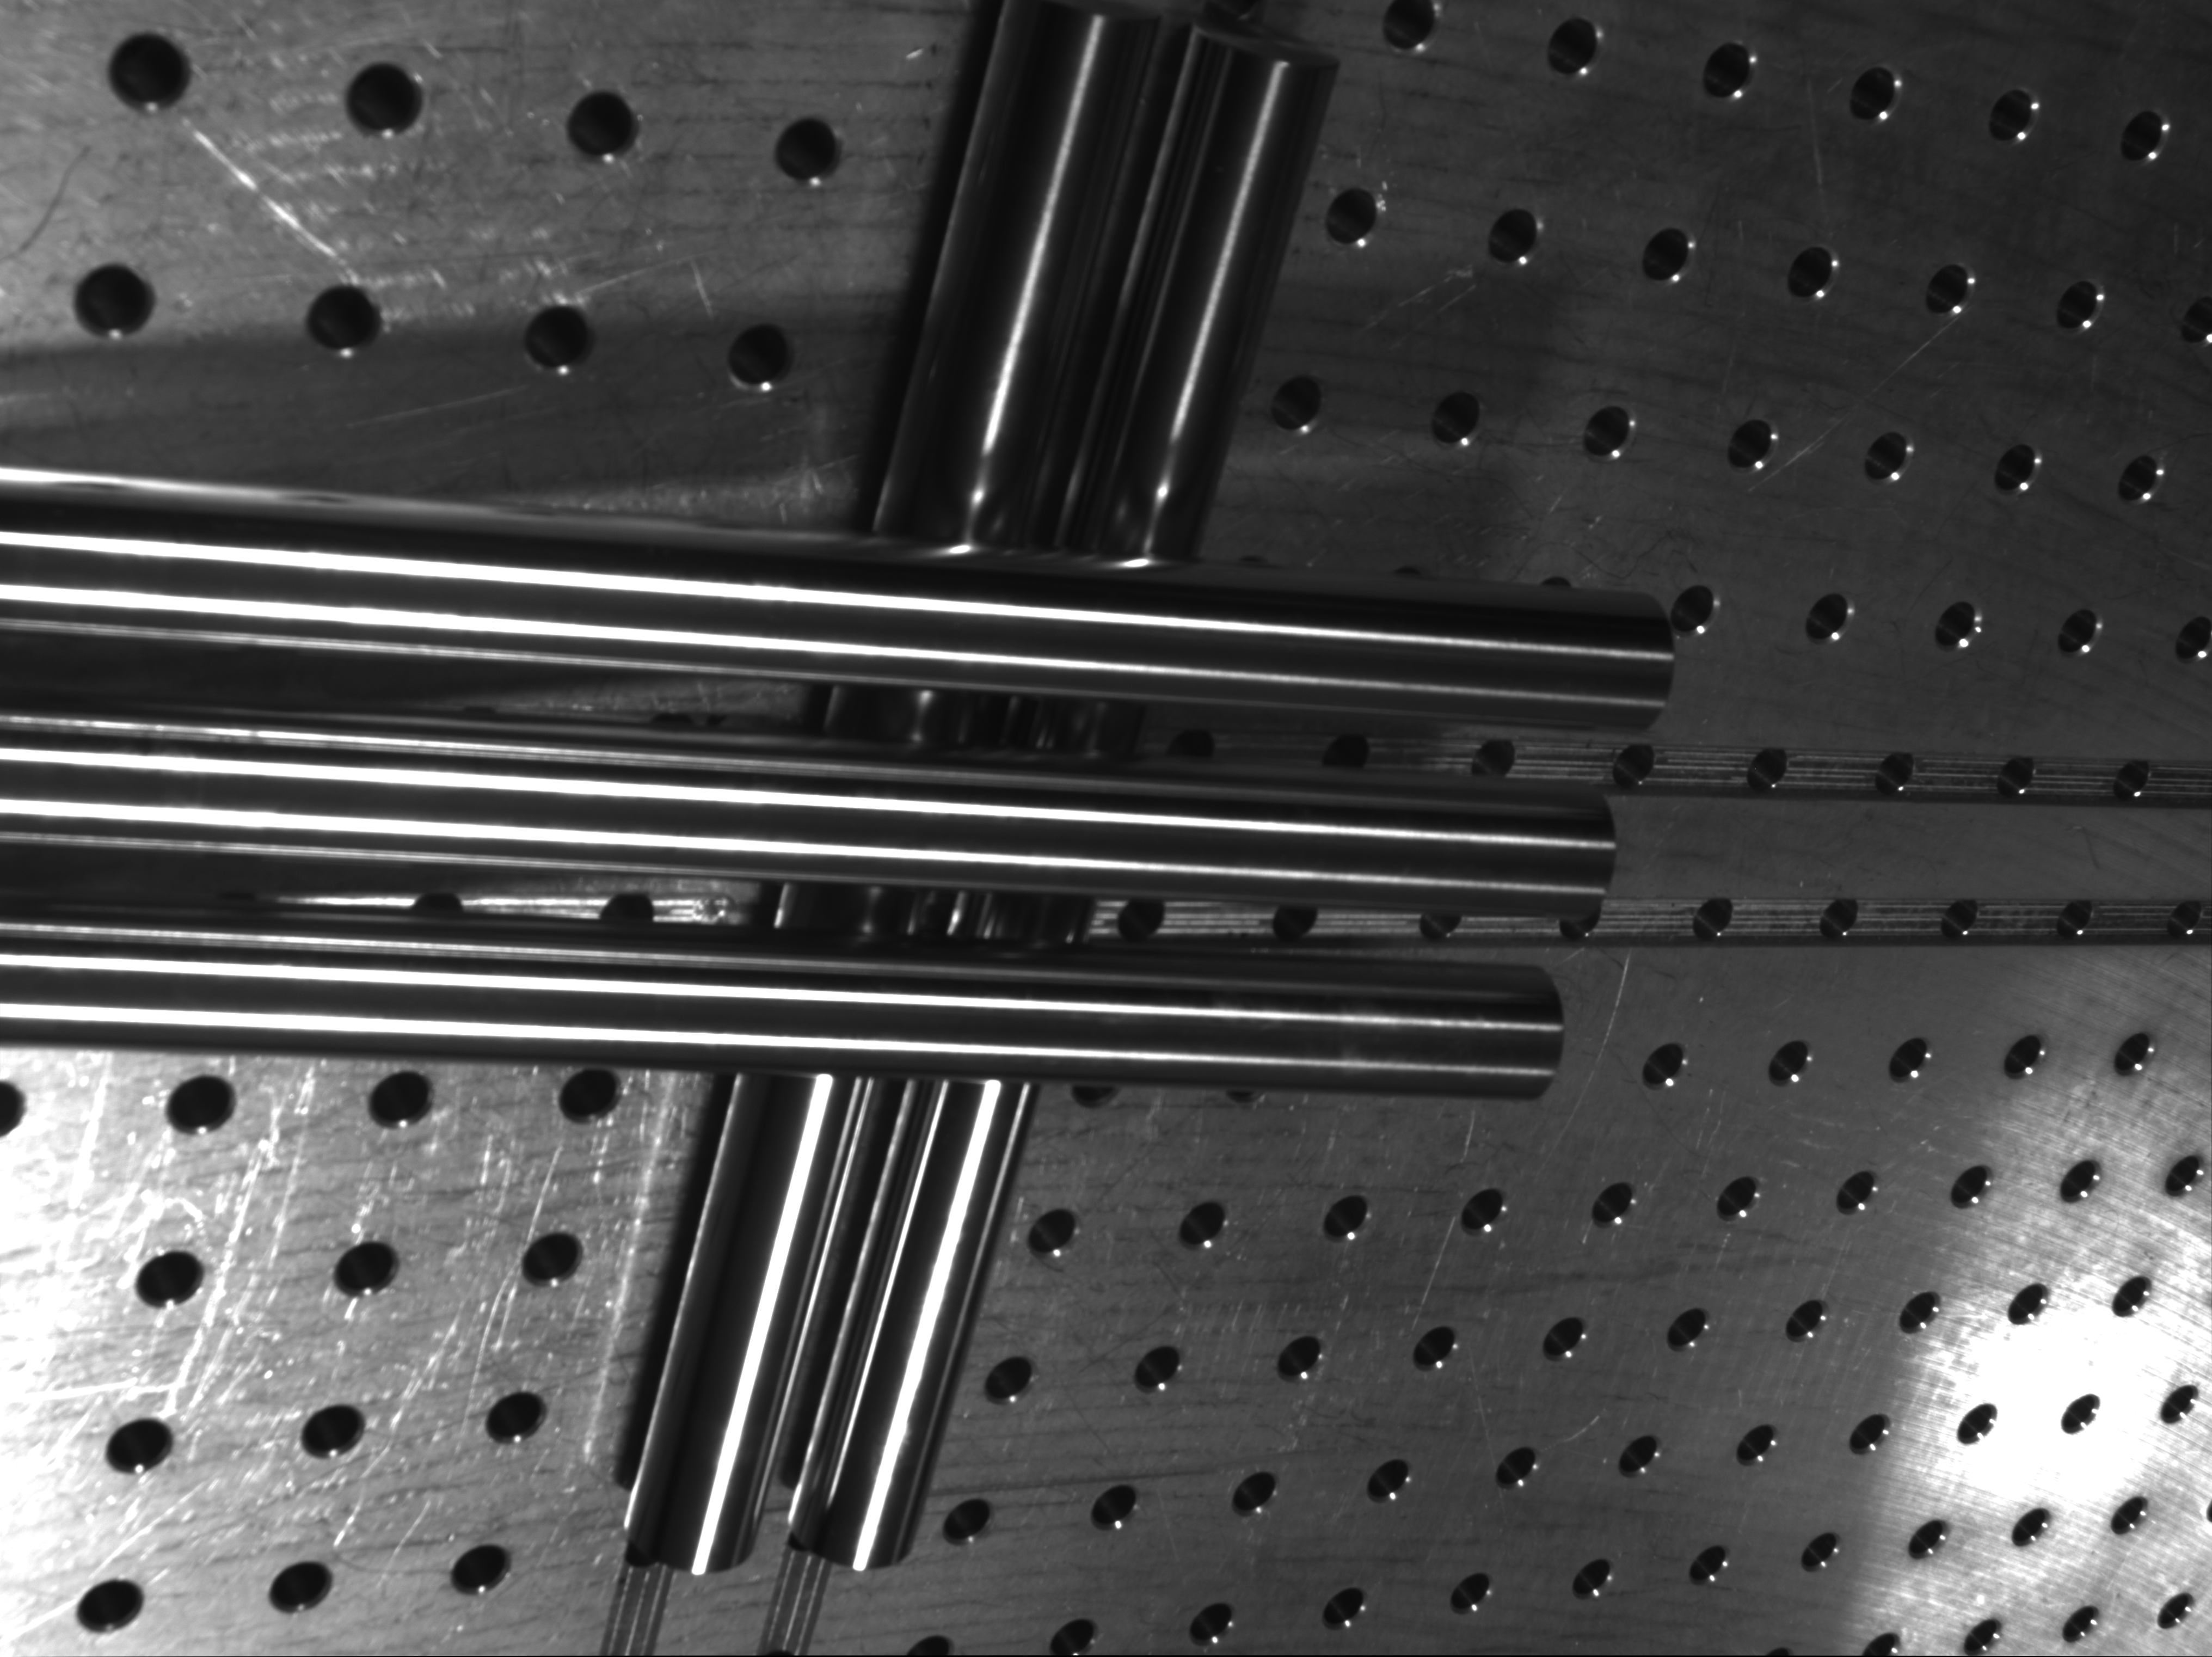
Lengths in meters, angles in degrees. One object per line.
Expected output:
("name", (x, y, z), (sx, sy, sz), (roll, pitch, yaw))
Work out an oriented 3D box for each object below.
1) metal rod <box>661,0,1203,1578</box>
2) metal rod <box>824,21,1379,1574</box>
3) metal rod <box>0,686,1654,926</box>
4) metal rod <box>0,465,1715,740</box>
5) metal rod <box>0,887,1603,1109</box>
("metal rod", (-0.035, 0.002, 0.635), (0.025, 0.025, 0.300), (1, 118, -31))
("metal rod", (-0.005, 0.005, 0.654), (0.025, 0.025, 0.300), (1, 118, -31))
("metal rod", (-0.047, -0.003, 0.598), (0.301, 0.025, 0.025), (3, 117, -23))
("metal rod", (-0.039, -0.035, 0.583), (0.301, 0.025, 0.025), (3, 117, -22))
("metal rod", (-0.054, 0.030, 0.613), (0.301, 0.025, 0.025), (4, 116, -22))
